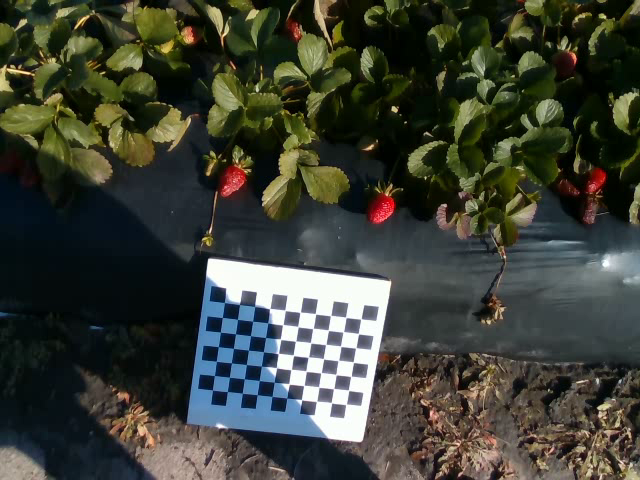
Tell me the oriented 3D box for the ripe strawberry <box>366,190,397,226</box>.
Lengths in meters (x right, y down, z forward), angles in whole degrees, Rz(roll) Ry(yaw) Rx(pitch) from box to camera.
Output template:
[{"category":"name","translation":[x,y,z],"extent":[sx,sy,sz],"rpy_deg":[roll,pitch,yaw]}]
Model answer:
[{"category":"ripe strawberry","translation":[0.081,-0.037,1.257],"extent":[0.042,0.050,0.043],"rpy_deg":[42,-40,-16]}]

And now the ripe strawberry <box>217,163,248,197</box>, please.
[{"category":"ripe strawberry","translation":[-0.121,-0.077,1.240],"extent":[0.041,0.053,0.043],"rpy_deg":[18,-31,-12]}]
